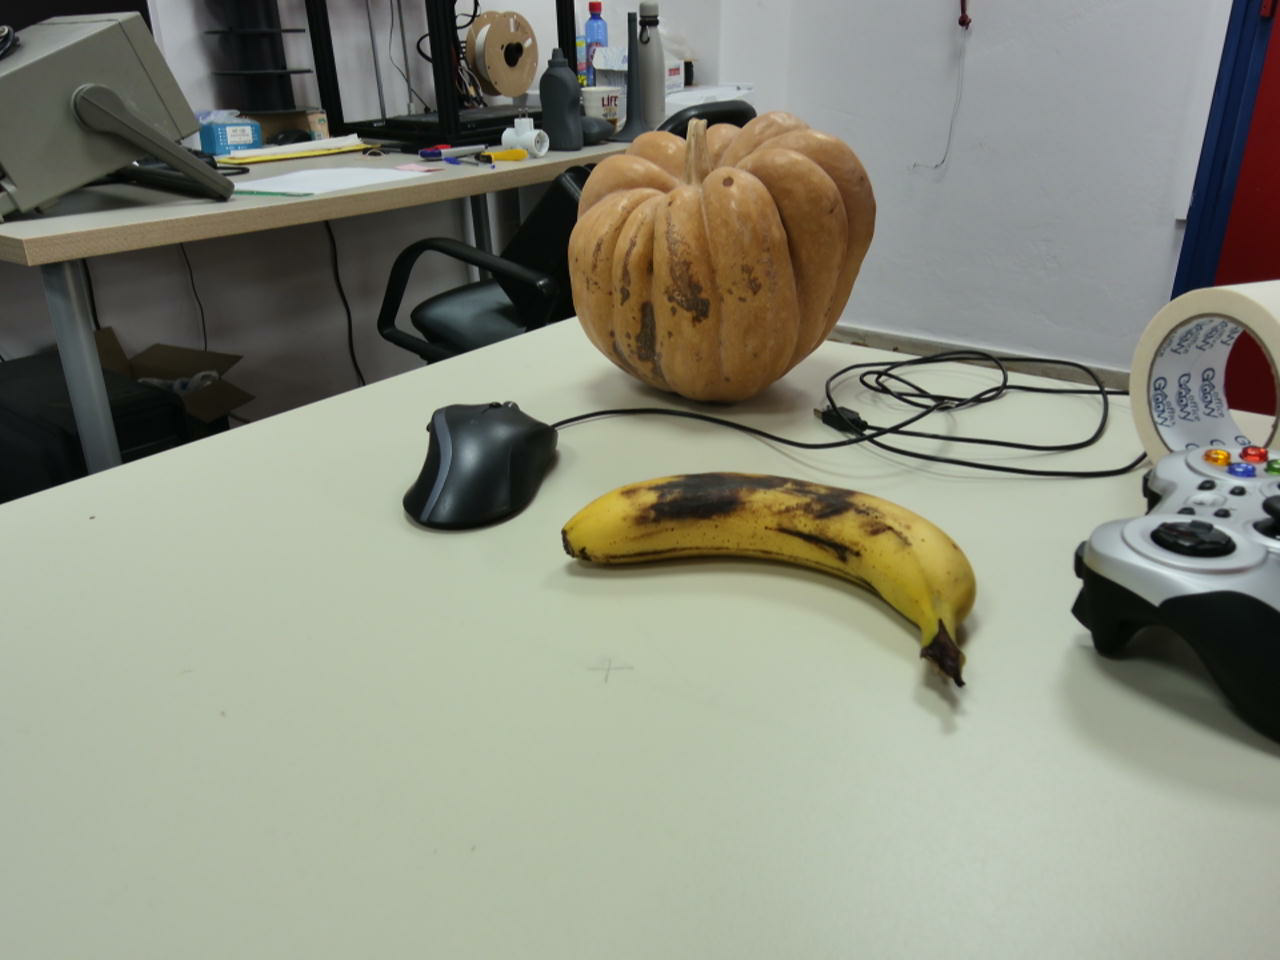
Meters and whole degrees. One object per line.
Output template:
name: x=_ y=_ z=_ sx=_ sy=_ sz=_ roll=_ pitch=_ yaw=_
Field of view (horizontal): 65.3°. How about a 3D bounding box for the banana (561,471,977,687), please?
banana: x=0.063 y=0.029 z=0.432 sx=0.187 sy=0.039 sz=0.094 roll=16 pitch=27 yaw=34
